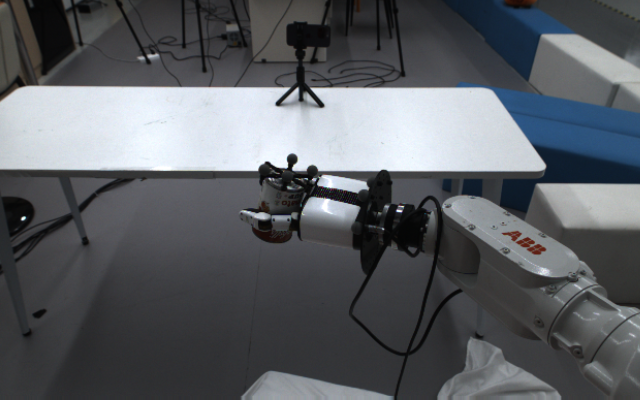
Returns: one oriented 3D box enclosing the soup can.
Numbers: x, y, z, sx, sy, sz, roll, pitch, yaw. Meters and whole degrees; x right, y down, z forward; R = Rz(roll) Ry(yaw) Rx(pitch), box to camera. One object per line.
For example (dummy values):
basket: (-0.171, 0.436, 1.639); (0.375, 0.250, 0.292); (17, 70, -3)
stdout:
soup can: (-0.065, 0.009, 0.763); (0.067, 0.101, 0.067); (13, 31, -8)
